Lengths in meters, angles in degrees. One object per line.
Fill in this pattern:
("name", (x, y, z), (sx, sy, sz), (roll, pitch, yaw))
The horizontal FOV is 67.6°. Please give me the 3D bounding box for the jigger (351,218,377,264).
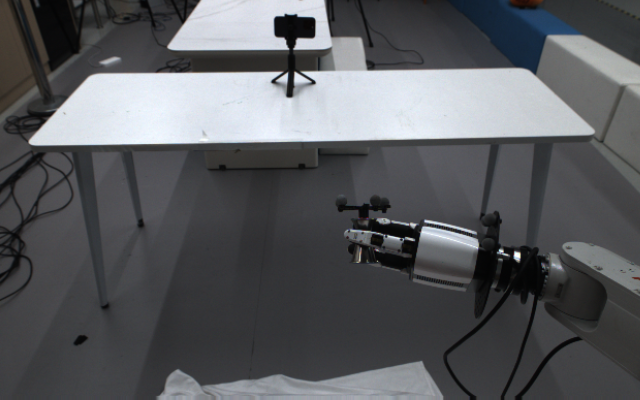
("jigger", (0.066, 0.062, 0.745), (0.043, 0.071, 0.043), (1, -5, 0))
